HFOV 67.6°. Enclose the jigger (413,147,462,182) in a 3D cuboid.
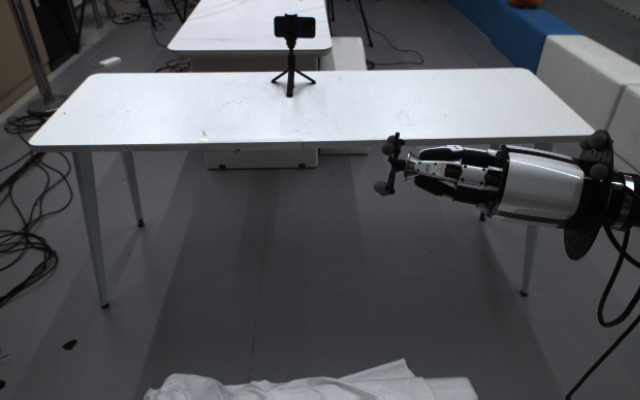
[{"bbox_3d":[0.154,-0.043,0.635,0.071,0.043,0.043,10,35,16],"label":"jigger"}]
